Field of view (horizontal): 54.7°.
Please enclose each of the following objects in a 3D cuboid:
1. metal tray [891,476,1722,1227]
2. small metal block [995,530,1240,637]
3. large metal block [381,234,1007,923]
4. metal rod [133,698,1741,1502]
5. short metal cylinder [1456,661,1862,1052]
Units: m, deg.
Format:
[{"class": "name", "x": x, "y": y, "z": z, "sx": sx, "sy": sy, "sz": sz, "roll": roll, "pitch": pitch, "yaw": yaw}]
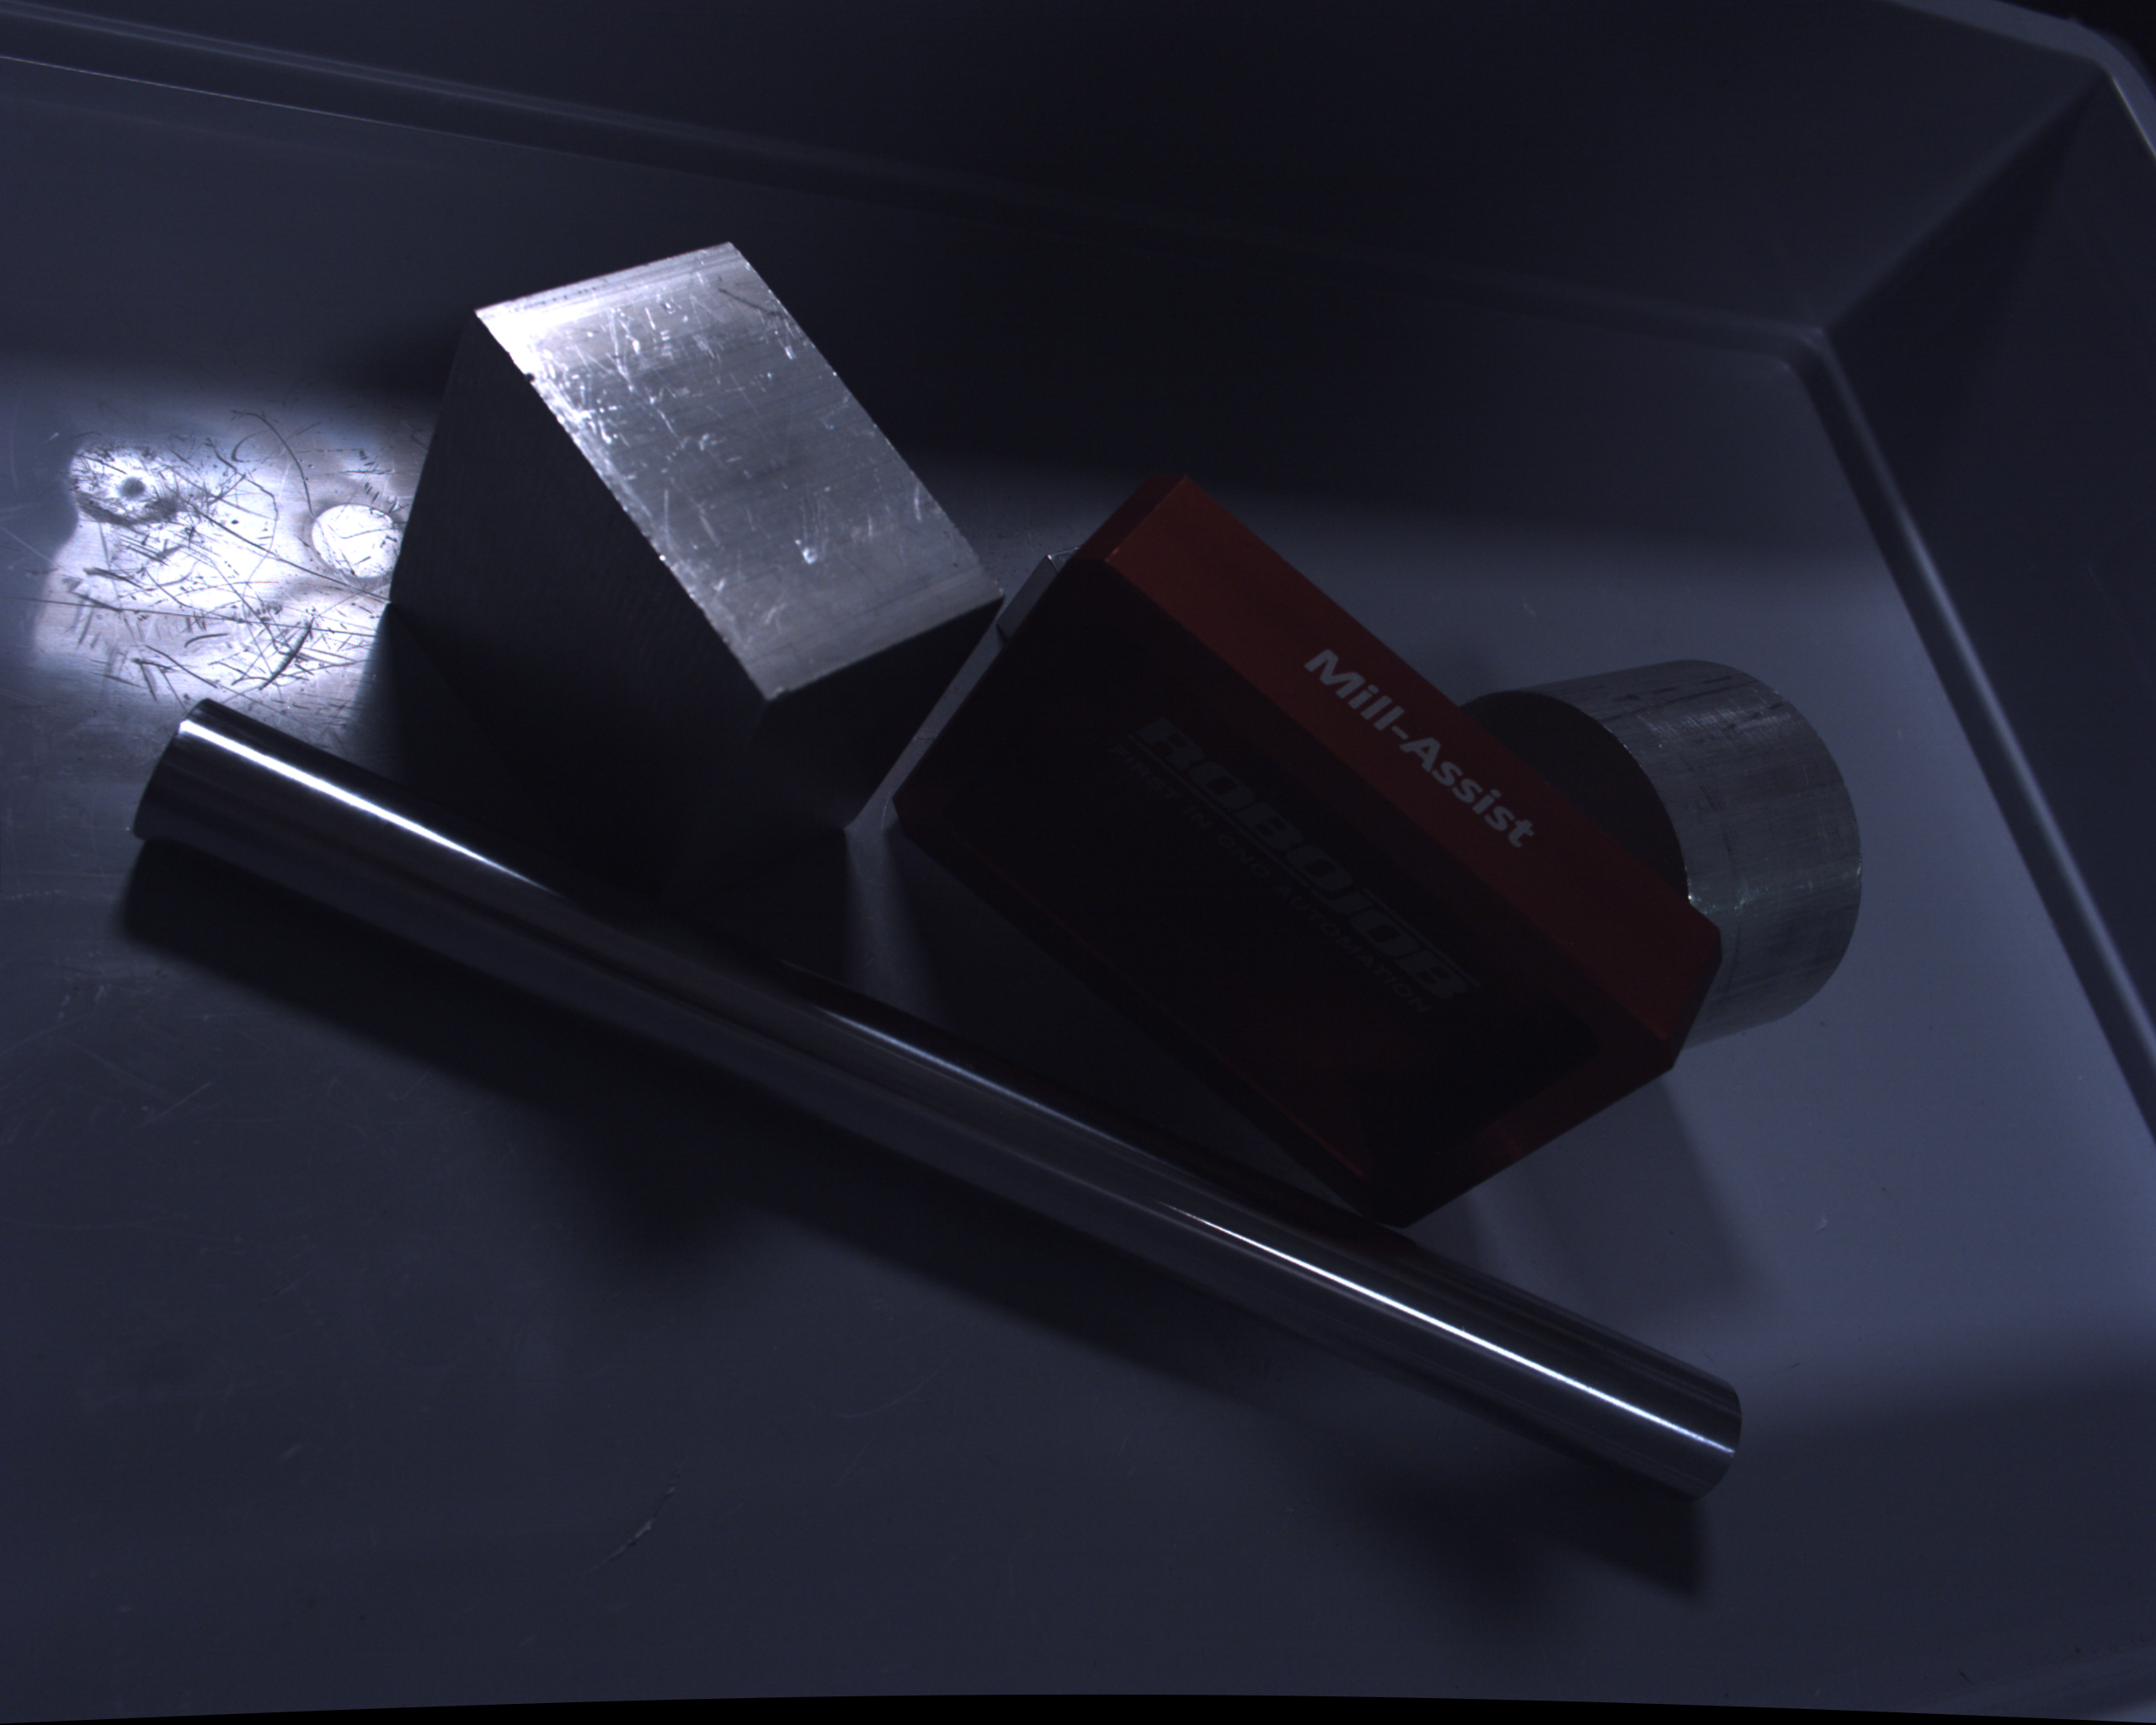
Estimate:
[{"class": "metal tray", "x": 0.038, "y": 0.002, "z": 0.382, "sx": 0.130, "sy": 0.090, "sz": 0.030, "roll": 40, "pitch": 50, "yaw": -2}, {"class": "small metal block", "x": 0.019, "y": -0.044, "z": 0.441, "sx": 0.050, "sy": 0.025, "sz": 0.050, "roll": -22, "pitch": 74, "yaw": -36}, {"class": "large metal block", "x": -0.070, "y": -0.046, "z": 0.360, "sx": 0.050, "sy": 0.080, "sz": 0.080, "roll": -30, "pitch": 79, "yaw": -38}, {"class": "metal rod", "x": -0.013, "y": 0.048, "z": 0.369, "sx": 0.301, "sy": 0.025, "sz": 0.025, "roll": 26, "pitch": 53, "yaw": -13}, {"class": "short metal cylinder", "x": 0.111, "y": 0.001, "z": 0.430, "sx": 0.050, "sy": 0.080, "sz": 0.080, "roll": -13, "pitch": 69, "yaw": -33}]
